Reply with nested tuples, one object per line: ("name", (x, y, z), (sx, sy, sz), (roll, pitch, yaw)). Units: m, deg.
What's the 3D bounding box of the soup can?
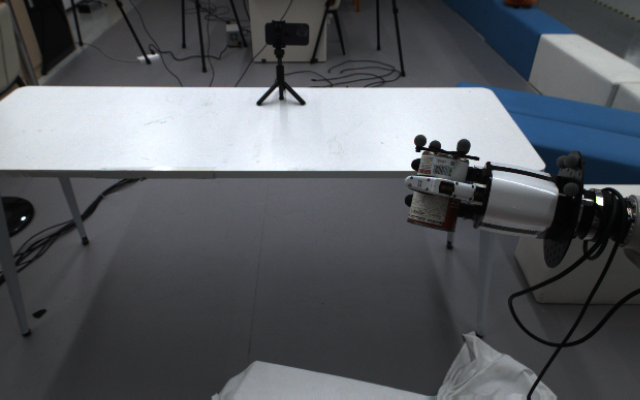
("soup can", (0.168, -0.012, 0.681), (0.067, 0.101, 0.067), (12, 2, 0))
